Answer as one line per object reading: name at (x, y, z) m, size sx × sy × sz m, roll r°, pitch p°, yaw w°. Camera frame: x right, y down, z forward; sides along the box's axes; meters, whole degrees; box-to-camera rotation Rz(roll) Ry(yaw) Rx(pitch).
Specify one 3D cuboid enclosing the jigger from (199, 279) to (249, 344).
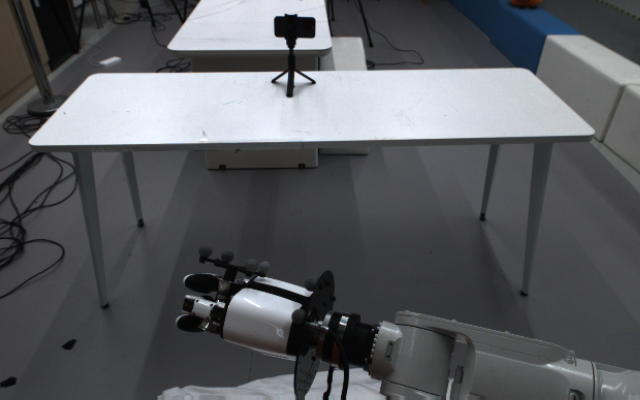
jigger at (-0.126, 0.138, 0.638) m, size 0.043 × 0.071 × 0.043 m, roll 15°, pitch -7°, yaw 2°
